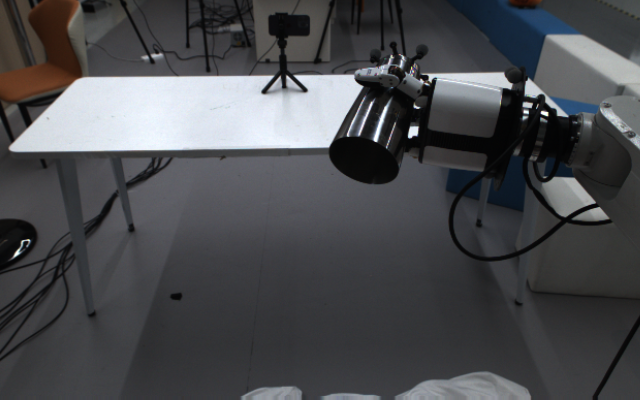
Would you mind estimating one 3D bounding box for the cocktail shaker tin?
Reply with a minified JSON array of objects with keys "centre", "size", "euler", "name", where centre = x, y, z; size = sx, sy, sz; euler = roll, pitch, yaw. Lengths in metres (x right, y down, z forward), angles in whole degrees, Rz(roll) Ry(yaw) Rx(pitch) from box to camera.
[{"centre":[0.082,-0.116,0.646],"size":[0.093,0.093,0.170],"euler":[14,58,16],"name":"cocktail shaker tin"}]
